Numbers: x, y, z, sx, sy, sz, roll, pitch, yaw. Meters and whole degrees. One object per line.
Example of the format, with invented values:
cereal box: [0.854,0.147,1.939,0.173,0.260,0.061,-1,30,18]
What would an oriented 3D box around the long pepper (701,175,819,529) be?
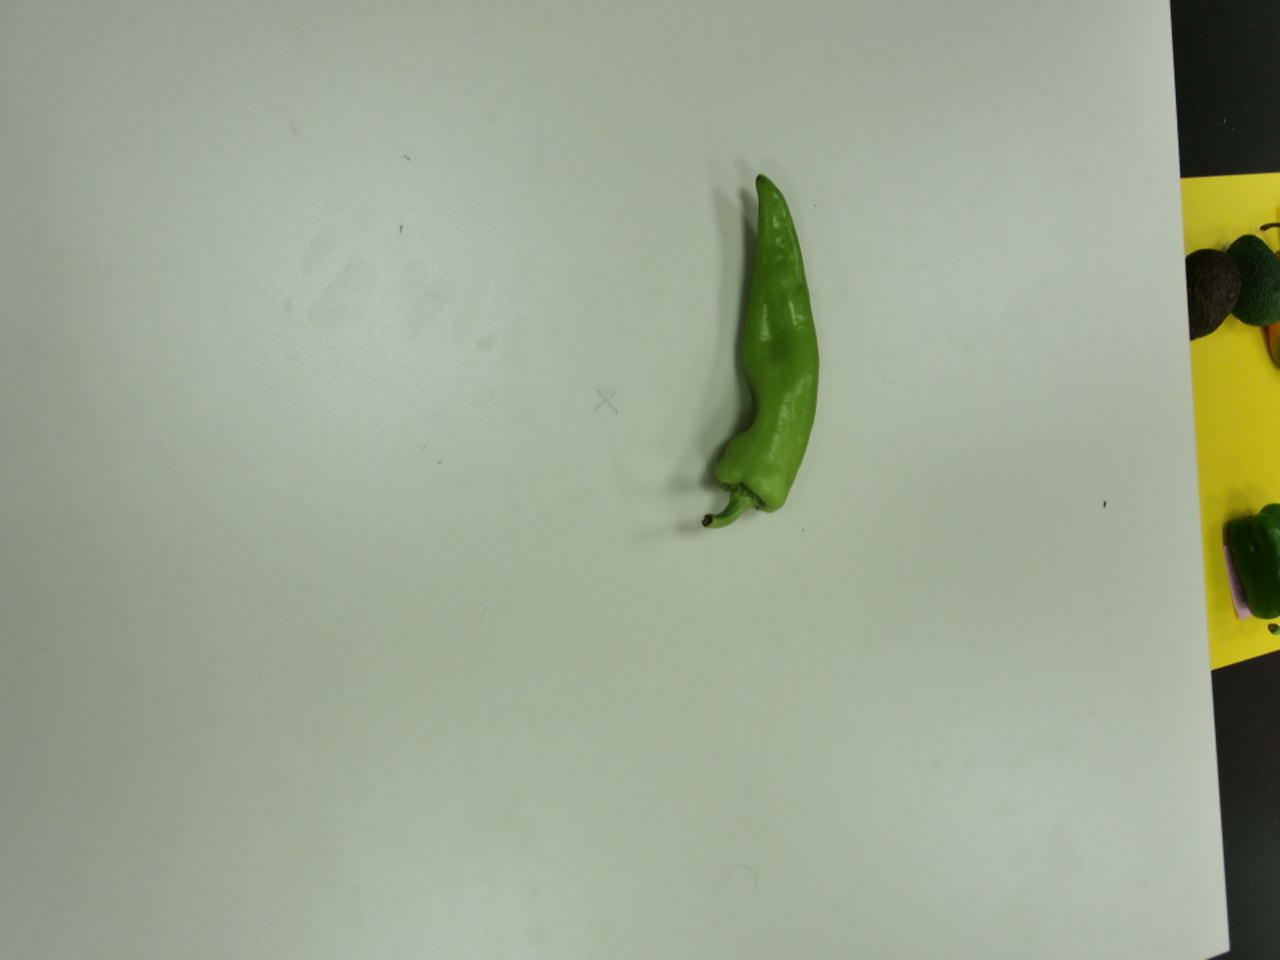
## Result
long pepper: [0.077,-0.068,0.577,0.065,0.045,0.204,12,86,-22]
